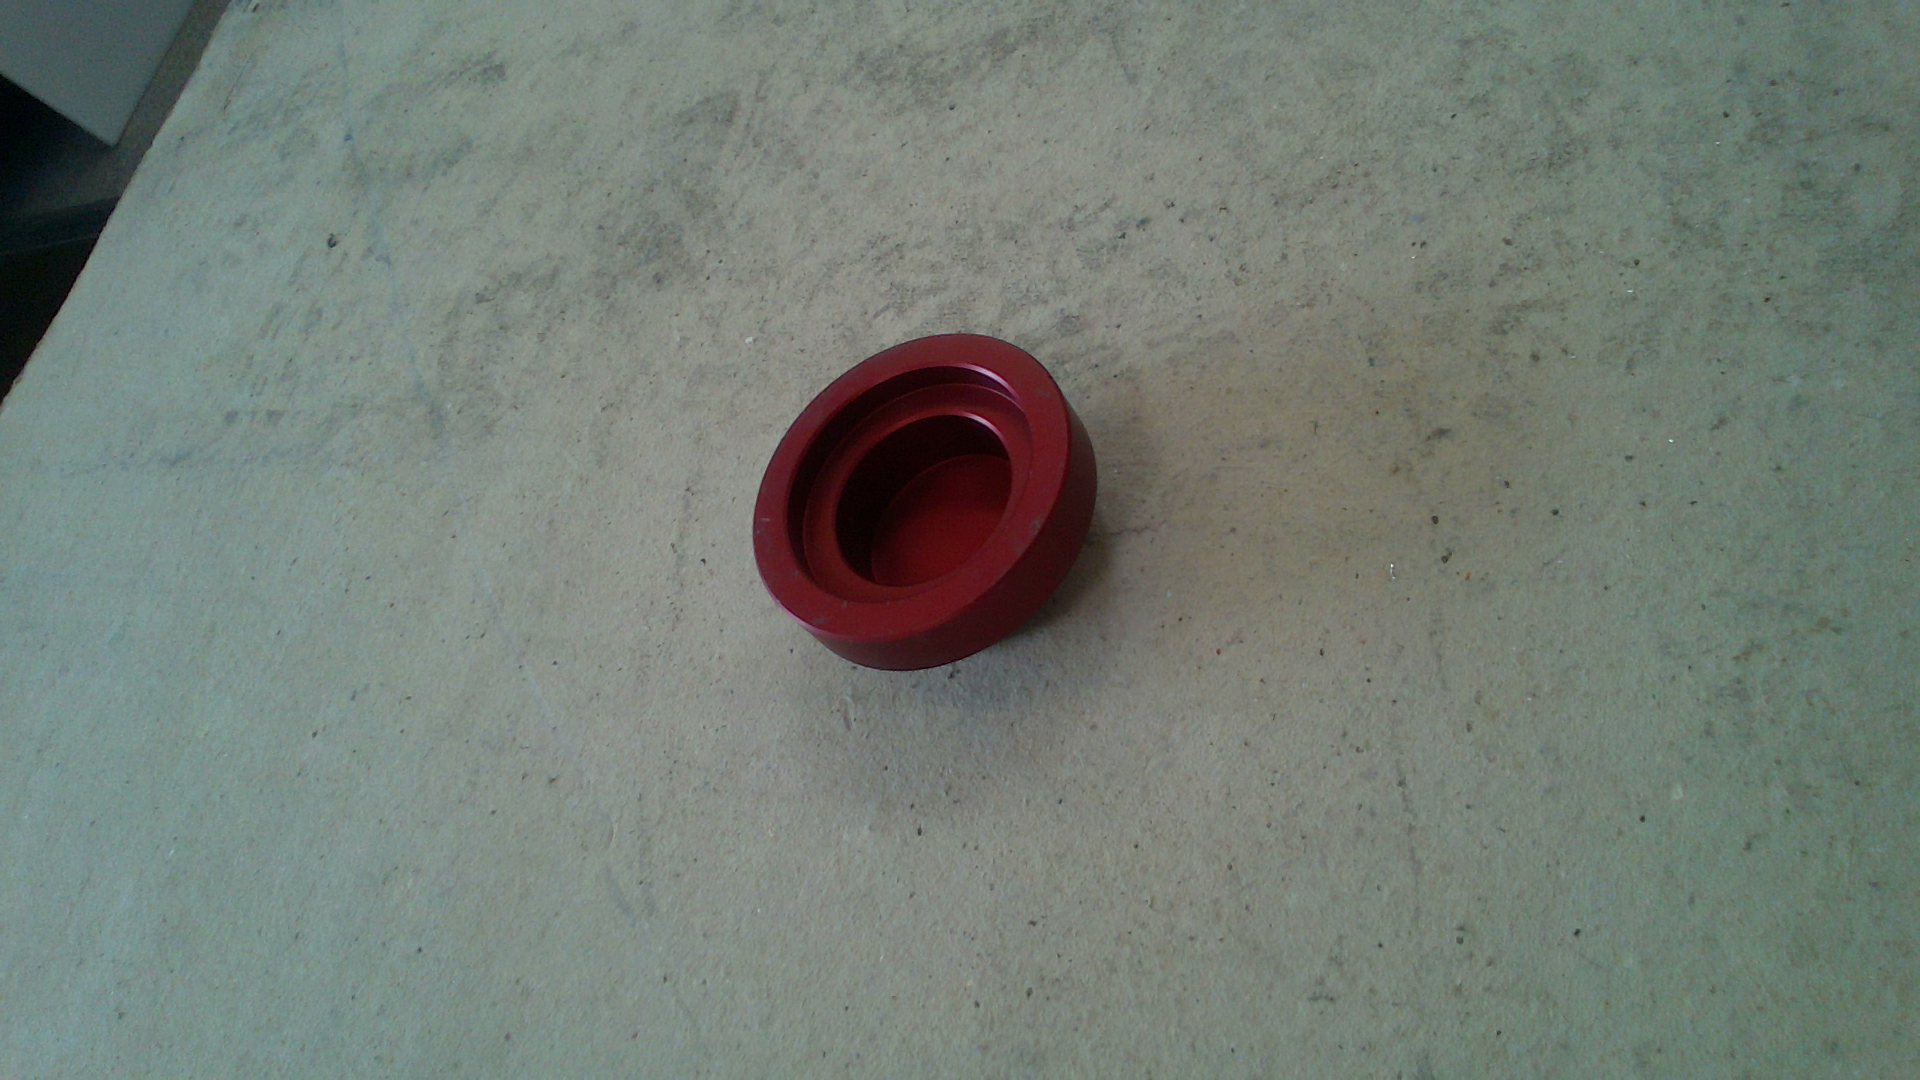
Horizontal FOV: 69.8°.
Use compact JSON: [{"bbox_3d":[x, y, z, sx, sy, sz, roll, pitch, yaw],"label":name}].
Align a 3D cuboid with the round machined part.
[{"bbox_3d":[-0.006,-0.007,0.391,0.098,0.042,0.098,-13,56,21],"label":"round machined part"}]
